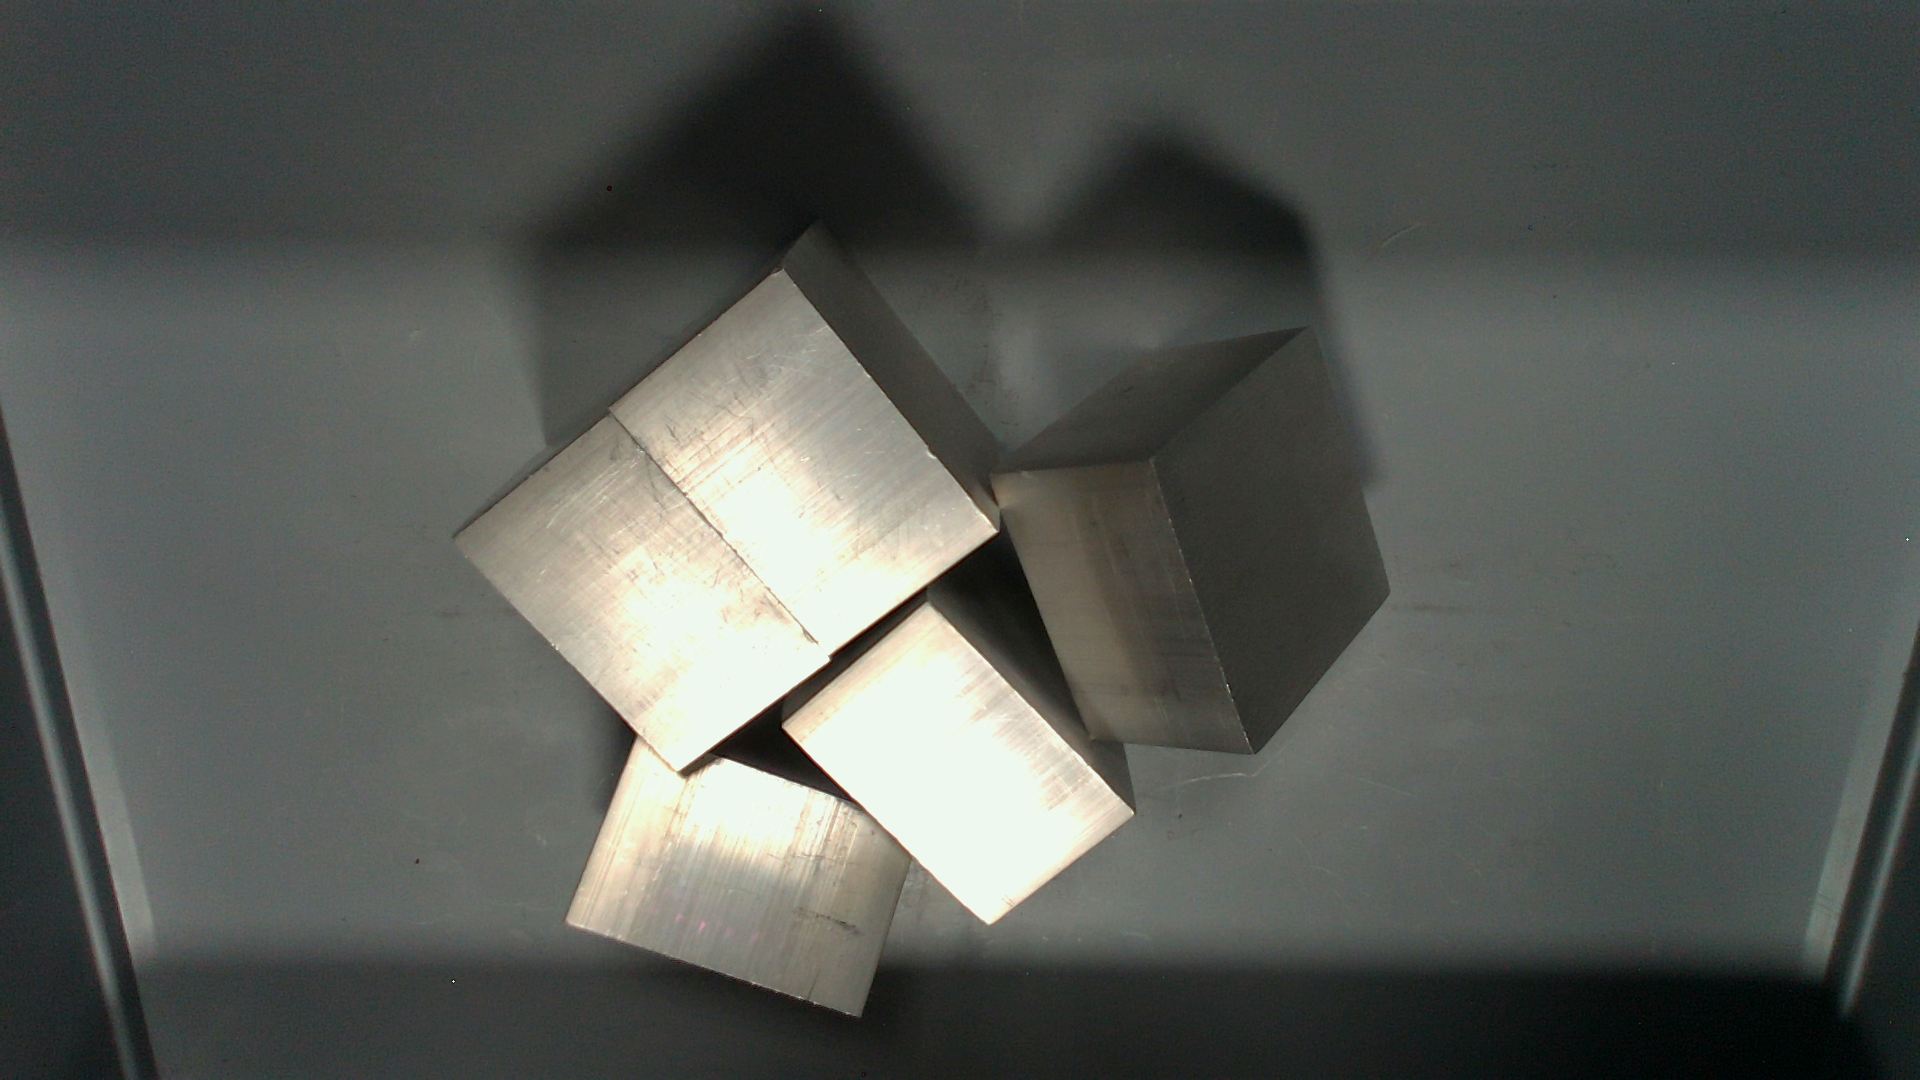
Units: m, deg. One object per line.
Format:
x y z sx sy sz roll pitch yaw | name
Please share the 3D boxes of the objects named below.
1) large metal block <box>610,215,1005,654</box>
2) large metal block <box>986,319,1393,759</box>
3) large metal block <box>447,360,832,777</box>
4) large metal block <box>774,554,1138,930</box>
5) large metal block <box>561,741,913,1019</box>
-0.034 -0.030 0.352 0.050 0.080 0.080 -37 106 13 | large metal block
0.063 -0.001 0.356 0.050 0.080 0.080 -3 117 44 | large metal block
-0.075 0.001 0.364 0.050 0.080 0.080 -36 106 12 | large metal block
0.000 0.044 0.379 0.050 0.080 0.080 -40 105 13 | large metal block
-0.063 0.094 0.391 0.080 0.080 0.050 21 74 -8 | large metal block
